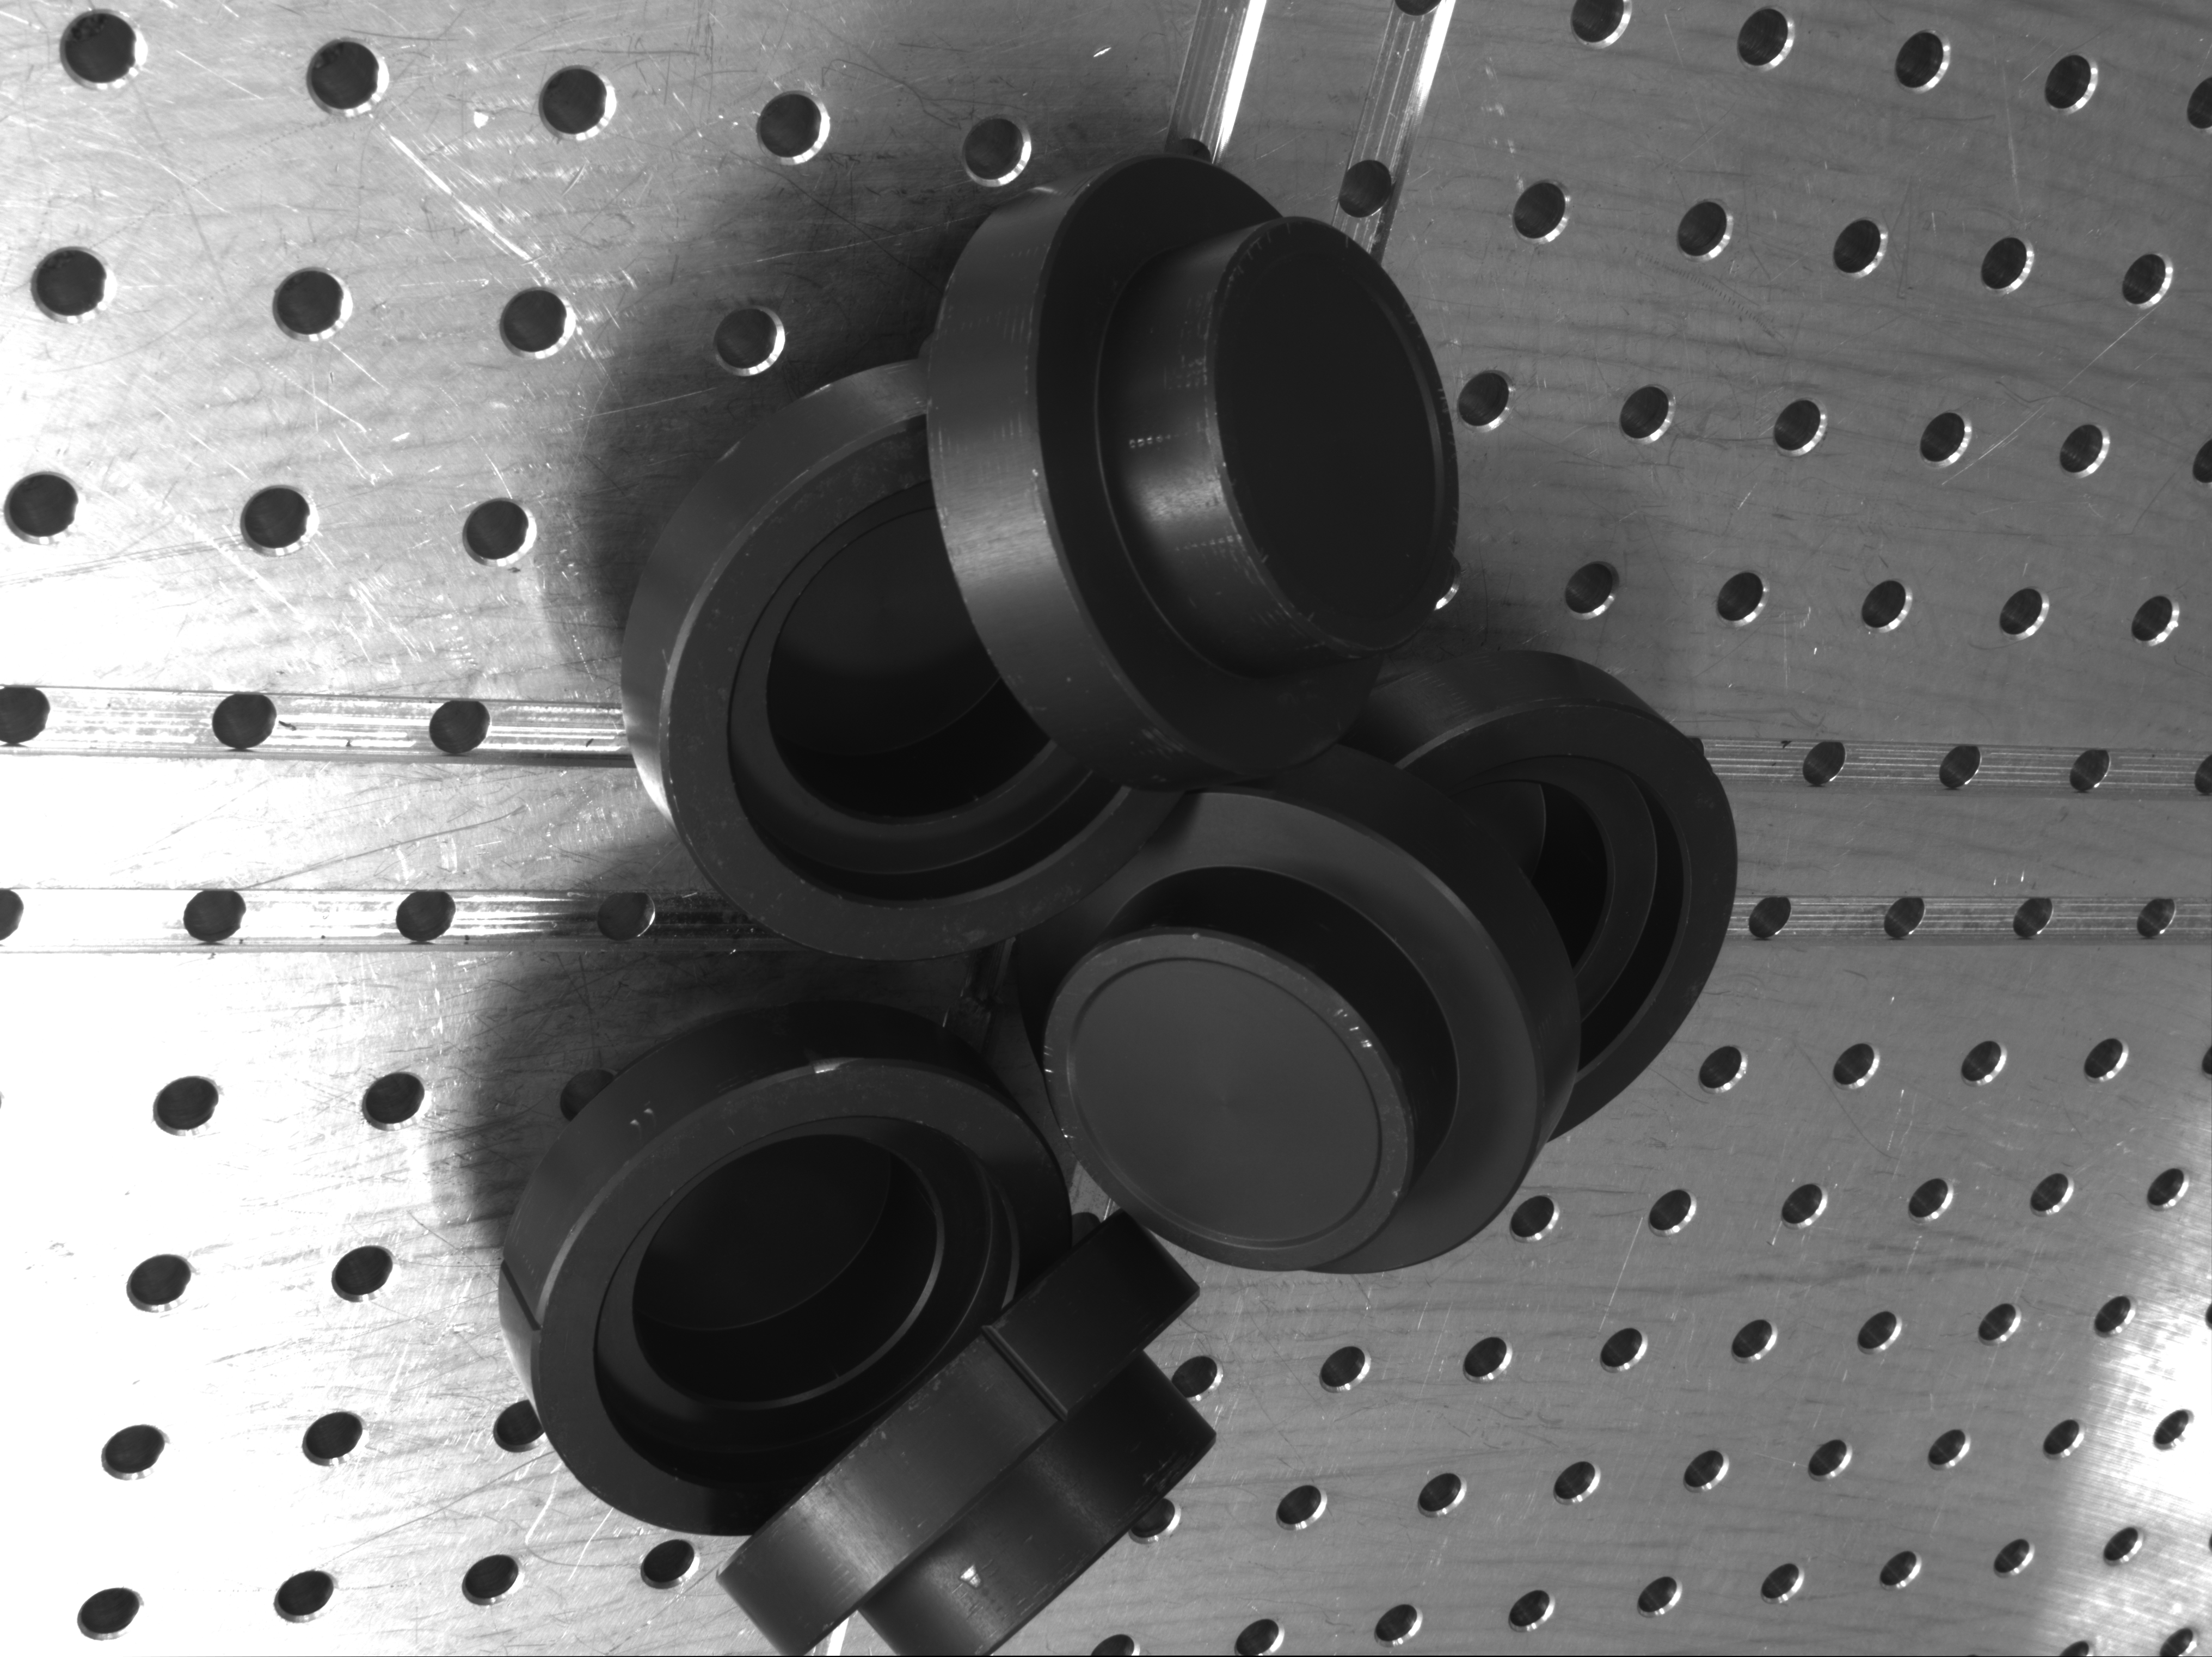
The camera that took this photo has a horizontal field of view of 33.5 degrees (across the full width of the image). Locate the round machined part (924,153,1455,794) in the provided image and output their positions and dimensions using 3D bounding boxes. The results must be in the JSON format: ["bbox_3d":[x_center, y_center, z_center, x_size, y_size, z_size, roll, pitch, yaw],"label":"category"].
[{"bbox_3d":[0.019,-0.057,0.570,0.098,0.042,0.098,18,67,-51],"label":"round machined part"}]

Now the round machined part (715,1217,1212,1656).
[{"bbox_3d":[-0.019,0.116,0.653,0.098,0.042,0.098,-42,174,-5],"label":"round machined part"}]

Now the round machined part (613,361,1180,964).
[{"bbox_3d":[-0.033,-0.030,0.593,0.098,0.042,0.098,-13,124,-21],"label":"round machined part"}]

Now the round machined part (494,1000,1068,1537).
[{"bbox_3d":[-0.059,0.072,0.641,0.098,0.042,0.098,-13,124,-21],"label":"round machined part"}]

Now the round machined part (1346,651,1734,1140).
[{"bbox_3d":[0.062,0.011,0.669,0.098,0.042,0.098,-13,124,-21],"label":"round machined part"}]

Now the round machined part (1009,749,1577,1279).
[{"bbox_3d":[0.027,0.037,0.628,0.042,0.098,0.098,-50,147,-52],"label":"round machined part"}]
